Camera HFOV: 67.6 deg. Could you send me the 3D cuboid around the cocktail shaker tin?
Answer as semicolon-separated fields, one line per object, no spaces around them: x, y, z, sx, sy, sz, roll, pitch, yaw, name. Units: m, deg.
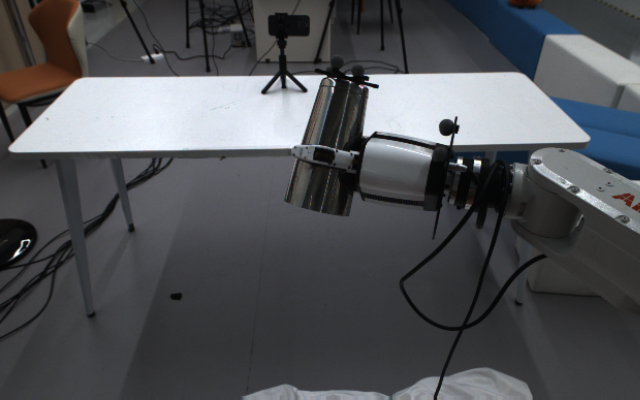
0.015;-0.072;0.652;0.093;0.170;0.093;13;4;-1;cocktail shaker tin
